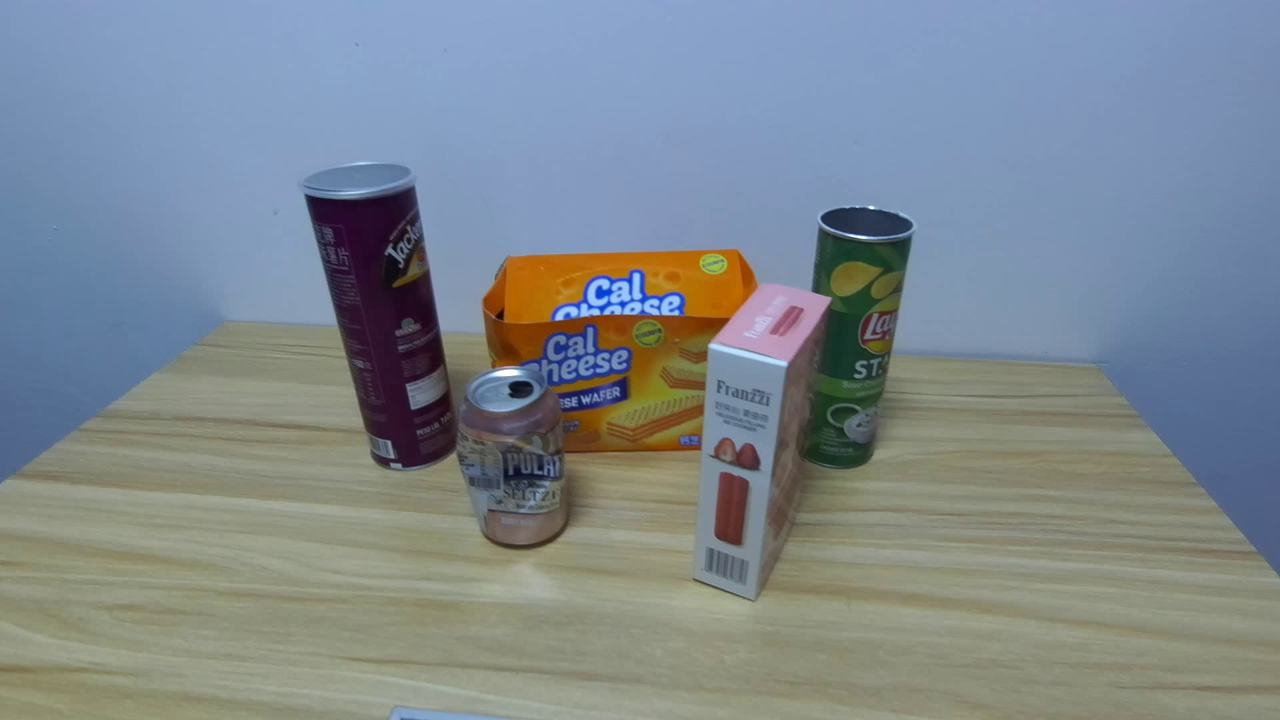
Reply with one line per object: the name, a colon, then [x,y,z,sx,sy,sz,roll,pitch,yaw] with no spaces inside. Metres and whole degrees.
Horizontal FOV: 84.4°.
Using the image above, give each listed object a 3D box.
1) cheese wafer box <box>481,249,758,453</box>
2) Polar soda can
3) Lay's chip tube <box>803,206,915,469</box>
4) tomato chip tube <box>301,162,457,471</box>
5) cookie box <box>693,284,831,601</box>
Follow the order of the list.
cheese wafer box: [-0.015,-0.009,0.629,0.230,0.132,0.152,-1,31,-2]
Polar soda can: [-0.087,0.071,0.502,0.074,0.122,0.067,24,39,36]
Lay's chip tube: [0.165,-0.015,0.557,0.071,0.203,0.071,-1,31,1]
tomato chip tube: [-0.199,-0.028,0.561,0.078,0.234,0.078,0,30,0]
cookie box: [0.077,0.054,0.457,0.048,0.185,0.096,15,33,21]
